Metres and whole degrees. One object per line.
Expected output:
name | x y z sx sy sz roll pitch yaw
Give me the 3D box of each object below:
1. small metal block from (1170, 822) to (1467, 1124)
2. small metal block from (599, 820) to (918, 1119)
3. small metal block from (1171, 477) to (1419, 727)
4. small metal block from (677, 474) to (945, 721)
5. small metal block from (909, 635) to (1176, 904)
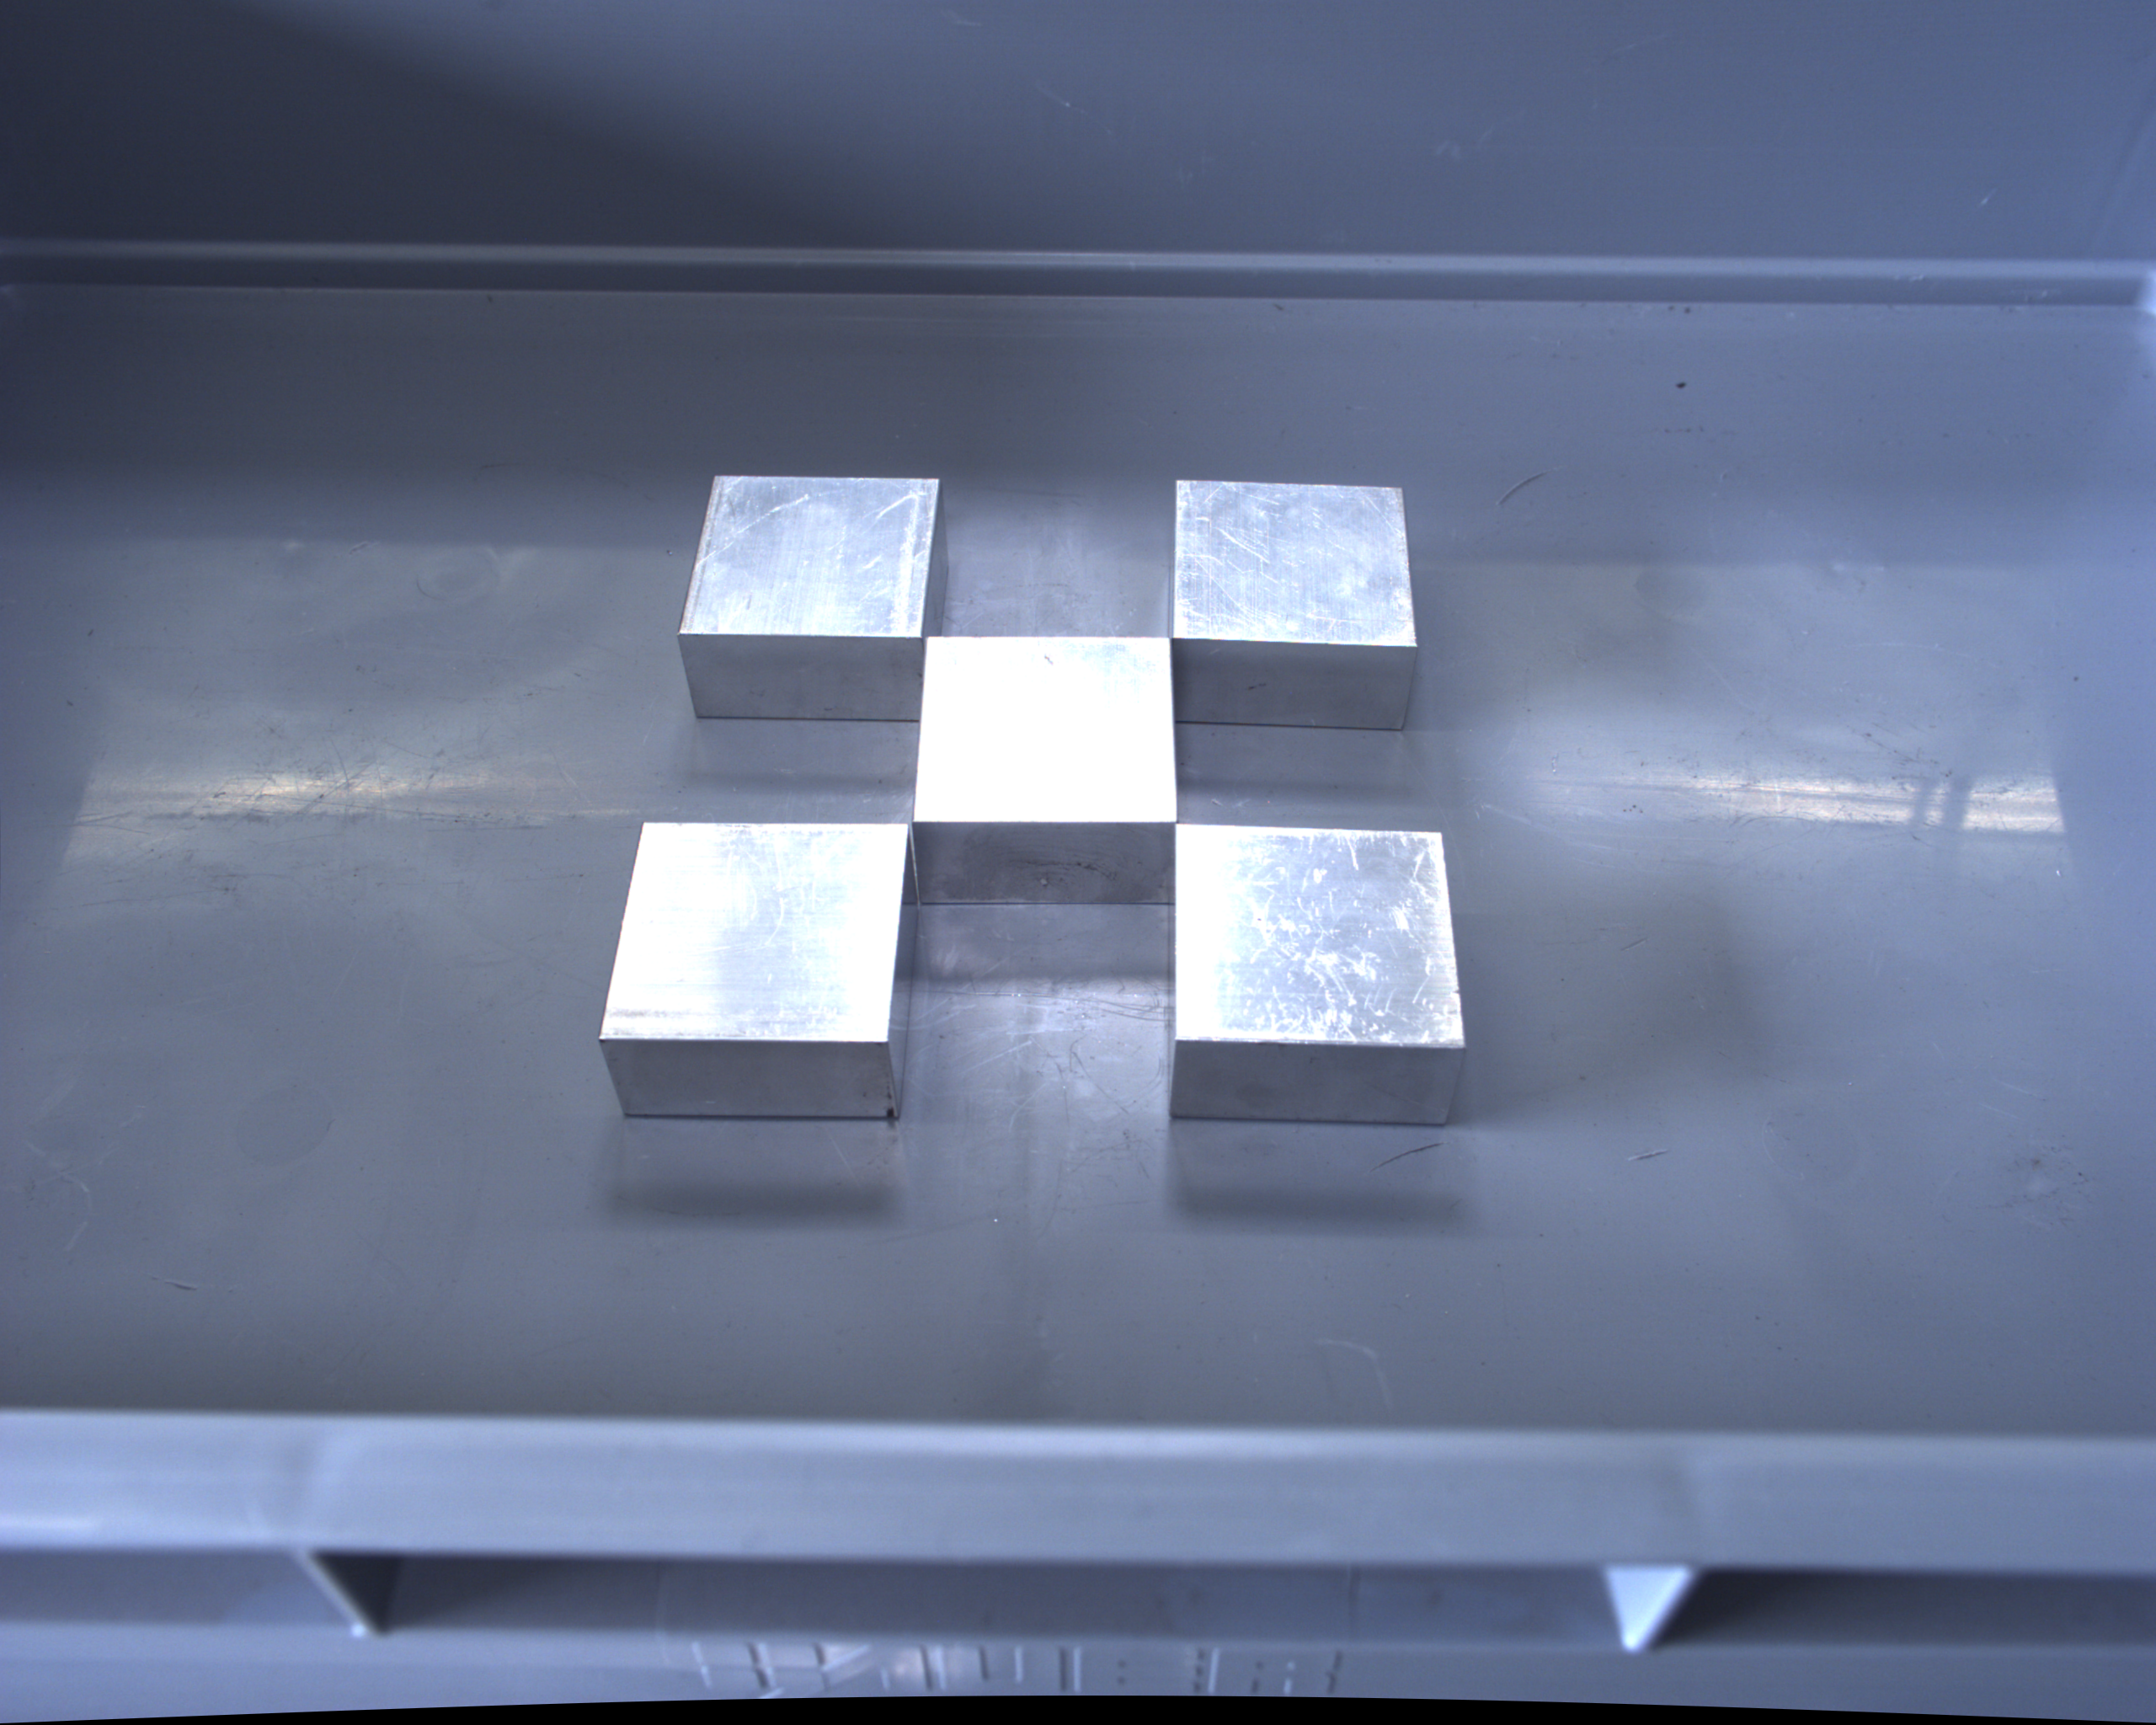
small metal block | 0.043 0.020 0.385 0.050 0.025 0.050 1 50 1
small metal block | -0.057 0.019 0.386 0.050 0.025 0.050 1 50 0
small metal block | 0.045 -0.057 0.450 0.050 0.025 0.050 2 50 1
small metal block | -0.056 -0.058 0.450 0.050 0.025 0.050 1 50 1
small metal block | -0.006 -0.019 0.418 0.050 0.025 0.050 0 50 0
